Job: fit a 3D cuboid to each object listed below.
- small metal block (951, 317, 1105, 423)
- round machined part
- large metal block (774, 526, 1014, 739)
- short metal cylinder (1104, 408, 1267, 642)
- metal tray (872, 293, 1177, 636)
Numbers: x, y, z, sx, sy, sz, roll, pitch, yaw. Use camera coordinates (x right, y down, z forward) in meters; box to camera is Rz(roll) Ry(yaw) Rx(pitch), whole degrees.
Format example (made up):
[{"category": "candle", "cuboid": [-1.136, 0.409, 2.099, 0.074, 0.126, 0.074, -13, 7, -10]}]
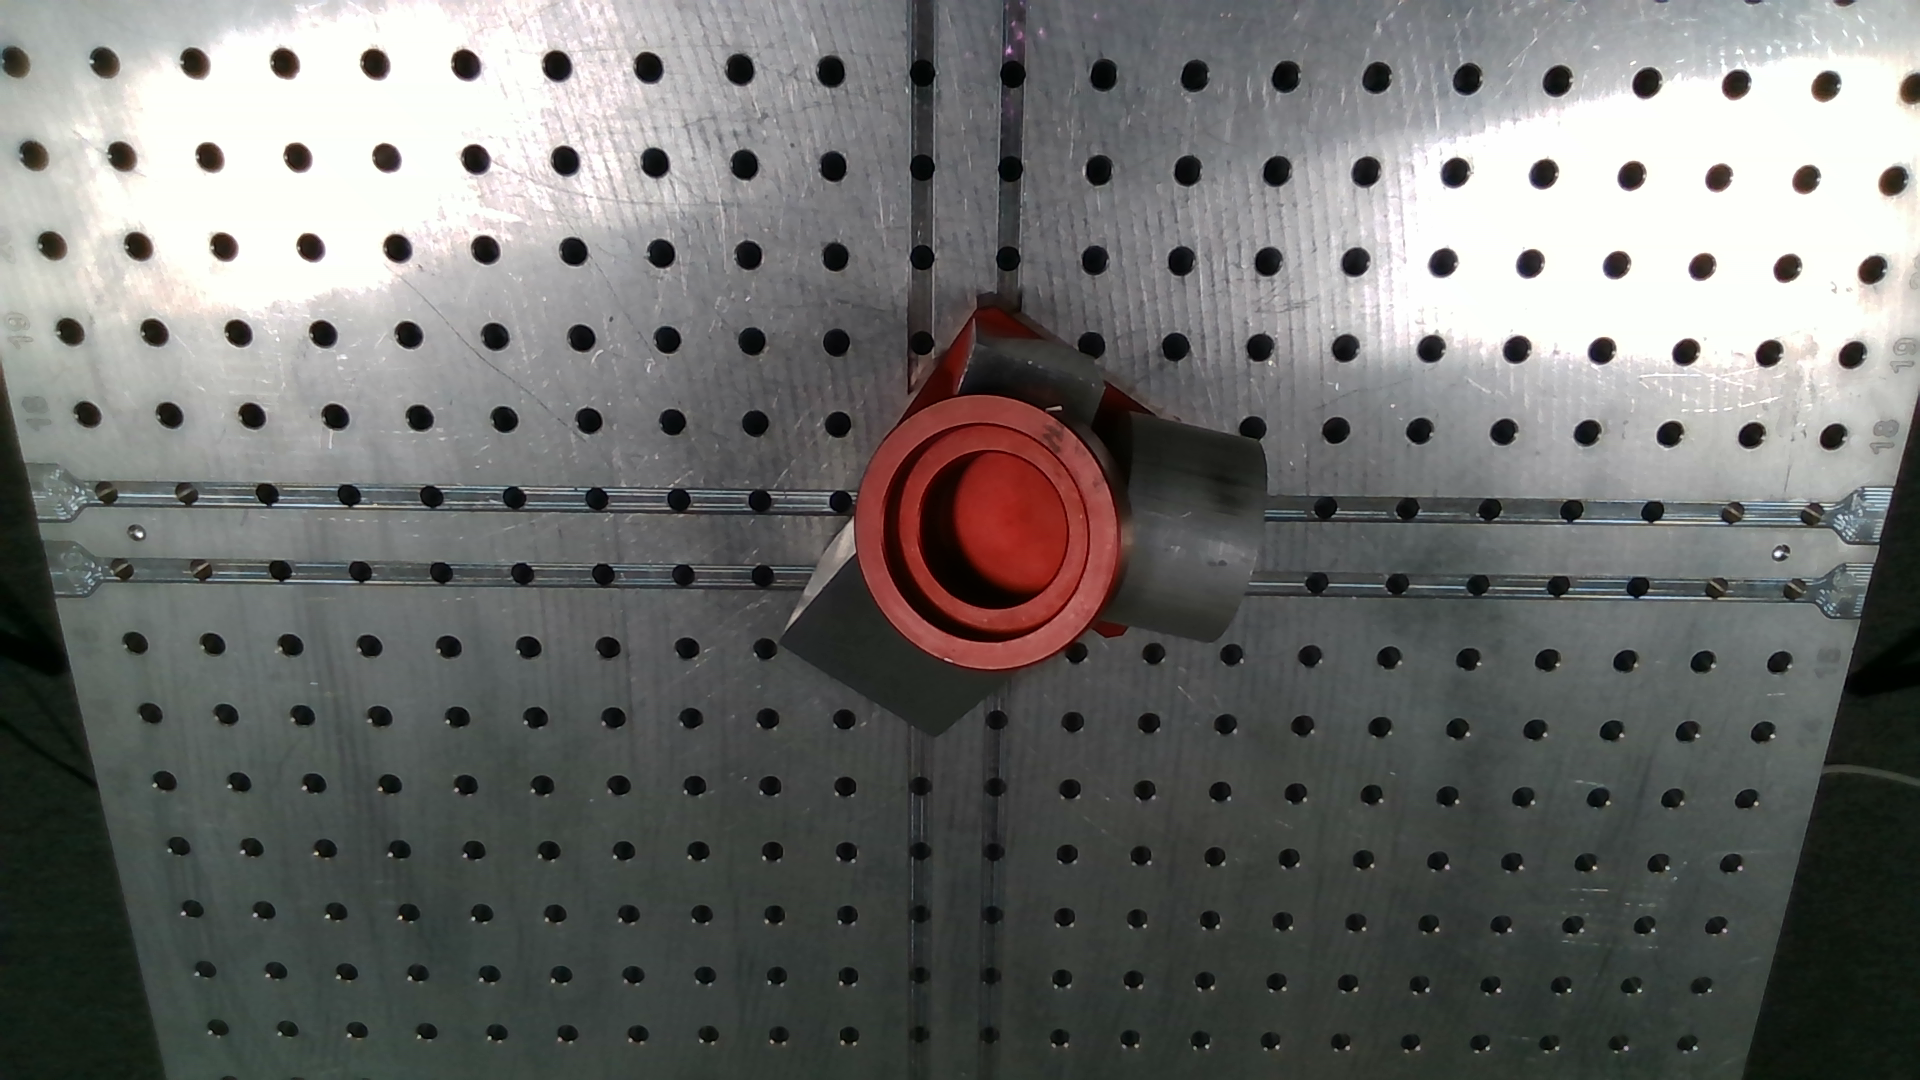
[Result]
[{"category": "small metal block", "cuboid": [0.024, -0.061, 0.518, 0.050, 0.050, 0.025, 18, 109, -6]}, {"category": "round machined part", "cuboid": [0.014, -0.005, 0.497, 0.098, 0.042, 0.098, 3, 99, 19]}, {"category": "large metal block", "cuboid": [-0.017, 0.026, 0.564, 0.080, 0.050, 0.080, 32, 138, -11]}, {"category": "short metal cylinder", "cuboid": [0.078, -0.005, 0.523, 0.050, 0.080, 0.080, 13, 110, -4]}, {"category": "metal tray", "cuboid": [0.038, -0.031, 0.574, 0.130, 0.030, 0.090, 33, 107, -11]}]
